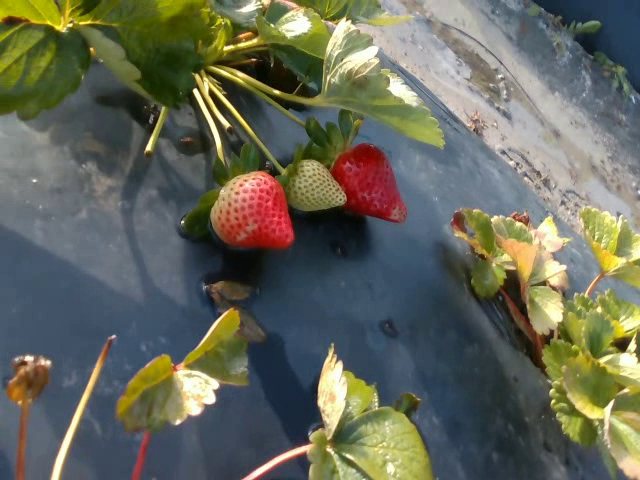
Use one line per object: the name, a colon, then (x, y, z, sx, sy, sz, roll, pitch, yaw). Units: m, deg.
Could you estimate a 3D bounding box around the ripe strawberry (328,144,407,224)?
ripe strawberry: (0.033, -0.031, 0.382, 0.048, 0.065, 0.050, -37, -1, -6)
